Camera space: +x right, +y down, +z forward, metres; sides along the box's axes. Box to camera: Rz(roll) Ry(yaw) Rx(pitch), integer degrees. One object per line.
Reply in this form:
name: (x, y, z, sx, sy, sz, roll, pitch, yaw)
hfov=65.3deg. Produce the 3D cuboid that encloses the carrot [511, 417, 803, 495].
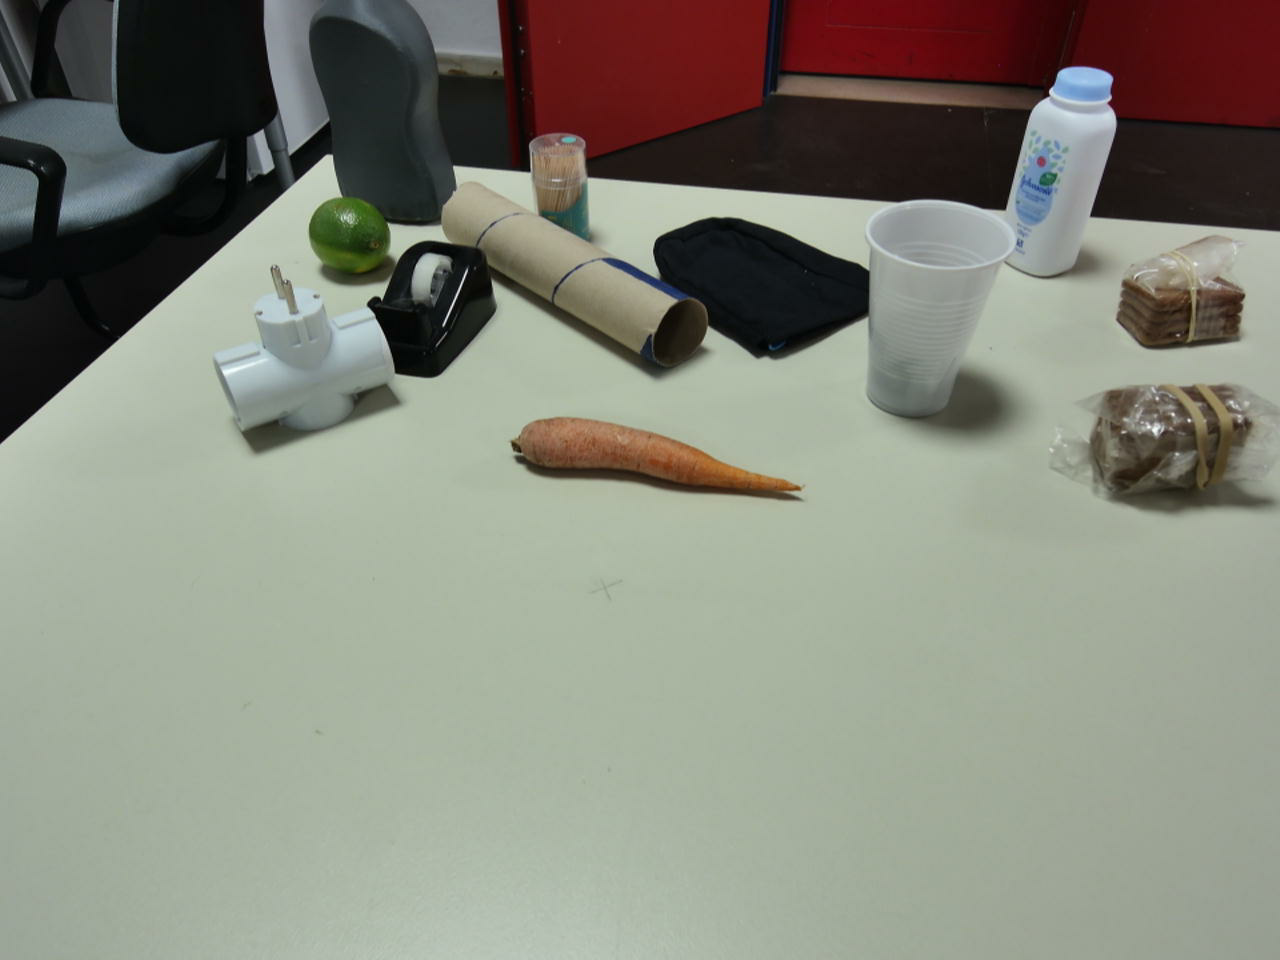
carrot: (0.008, -0.013, 0.547, 0.163, 0.029, 0.031, 8, 39, 10)
